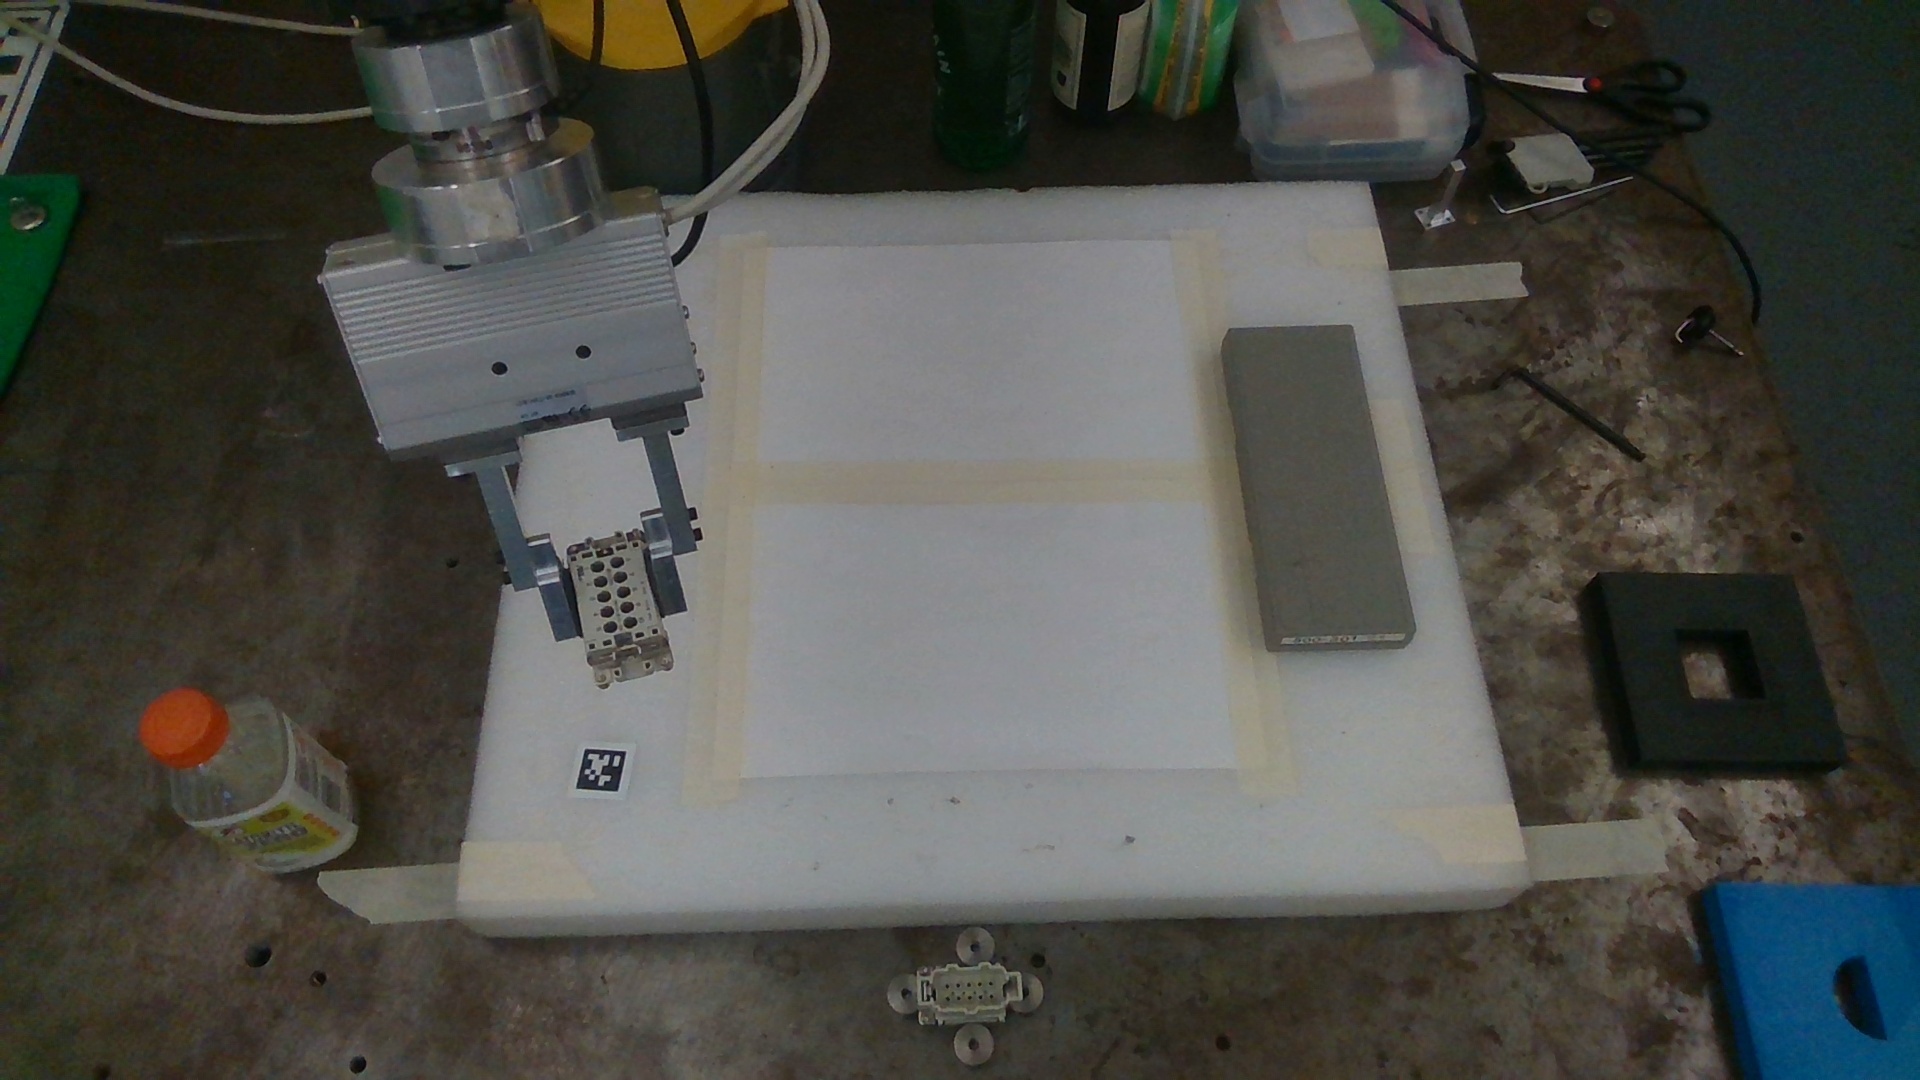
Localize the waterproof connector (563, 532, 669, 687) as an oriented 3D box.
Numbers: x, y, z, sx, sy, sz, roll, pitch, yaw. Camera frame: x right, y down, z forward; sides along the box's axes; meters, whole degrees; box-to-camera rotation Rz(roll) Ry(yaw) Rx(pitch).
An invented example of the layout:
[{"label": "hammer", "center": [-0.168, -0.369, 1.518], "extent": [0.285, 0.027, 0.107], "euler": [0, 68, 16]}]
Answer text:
[{"label": "waterproof connector", "center": [-0.153, 0.029, 0.618], "extent": [0.036, 0.038, 0.069], "euler": [-12, 64, -16]}]
